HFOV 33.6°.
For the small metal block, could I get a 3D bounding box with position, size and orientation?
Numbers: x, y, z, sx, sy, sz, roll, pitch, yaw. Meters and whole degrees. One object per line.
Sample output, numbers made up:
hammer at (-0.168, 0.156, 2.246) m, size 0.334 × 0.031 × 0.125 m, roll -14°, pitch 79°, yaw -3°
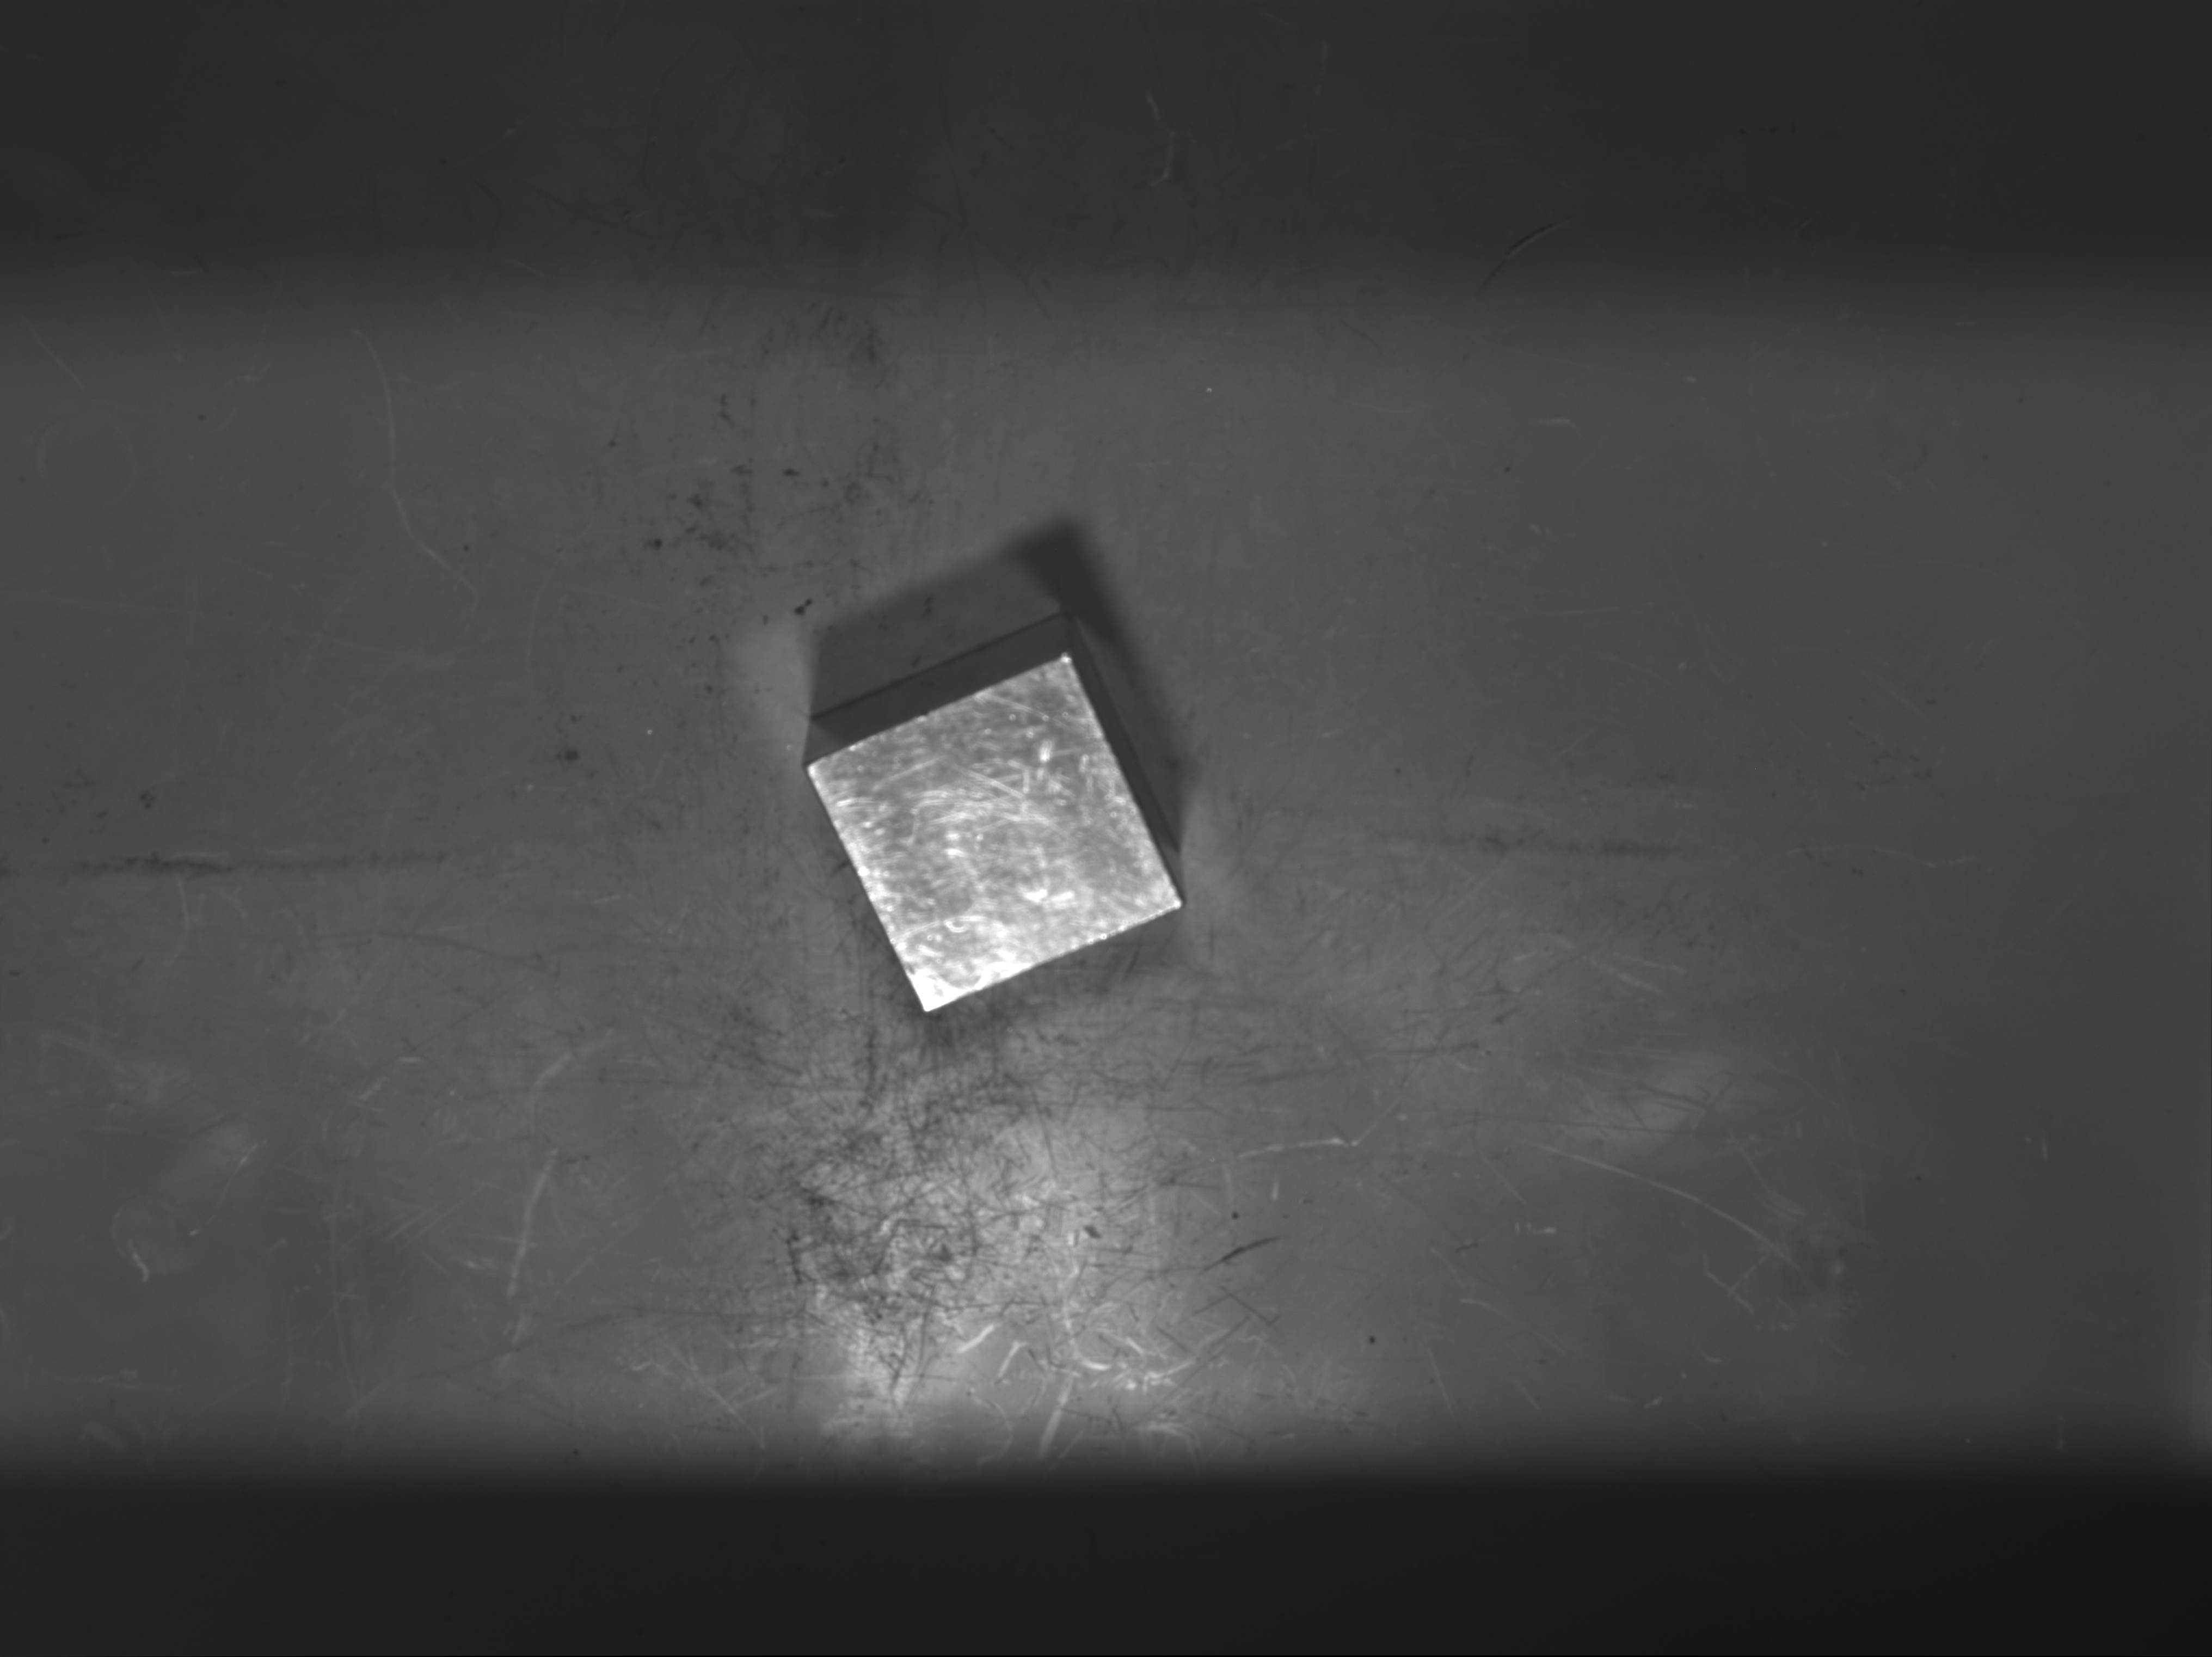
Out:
small metal block at (-0.019, -0.003, 0.639) m, size 0.050 × 0.025 × 0.050 m, roll -22°, pitch 109°, yaw 7°
